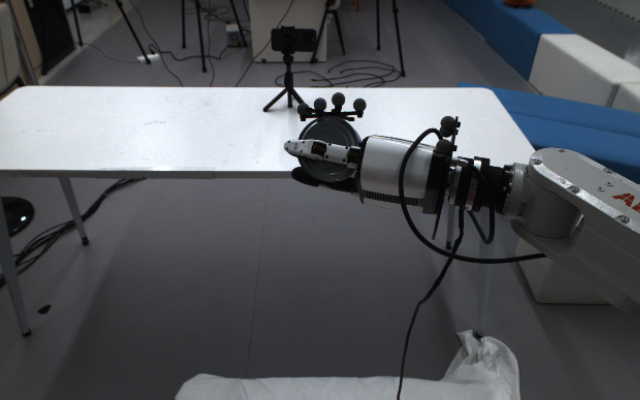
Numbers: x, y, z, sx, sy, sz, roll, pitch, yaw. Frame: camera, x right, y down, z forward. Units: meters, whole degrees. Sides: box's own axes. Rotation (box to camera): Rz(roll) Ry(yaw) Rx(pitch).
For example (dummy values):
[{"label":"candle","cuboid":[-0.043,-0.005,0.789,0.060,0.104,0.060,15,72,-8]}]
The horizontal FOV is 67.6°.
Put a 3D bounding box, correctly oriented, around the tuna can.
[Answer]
[{"label":"tuna can","cuboid":[0.014,-0.068,0.652,0.085,0.085,0.034,16,0,19]}]
